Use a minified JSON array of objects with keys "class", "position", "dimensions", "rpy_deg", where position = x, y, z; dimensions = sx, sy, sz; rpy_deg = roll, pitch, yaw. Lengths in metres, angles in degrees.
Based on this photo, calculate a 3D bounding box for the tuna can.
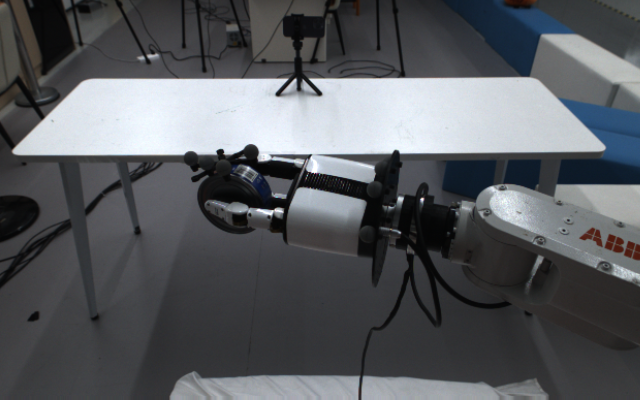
[{"class":"tuna can","position":[-0.100,0.002,0.588],"dimensions":[0.085,0.085,0.034],"rpy_deg":[10,33,11]}]
